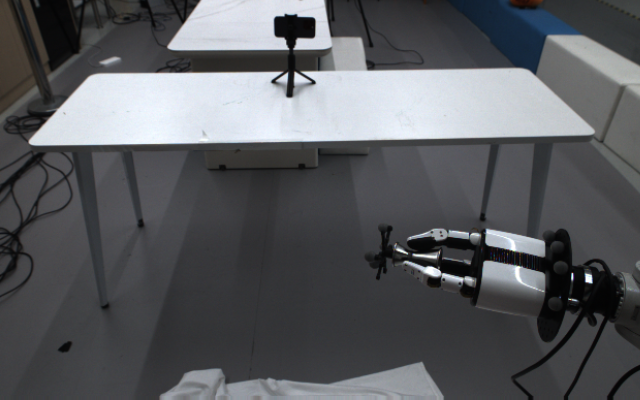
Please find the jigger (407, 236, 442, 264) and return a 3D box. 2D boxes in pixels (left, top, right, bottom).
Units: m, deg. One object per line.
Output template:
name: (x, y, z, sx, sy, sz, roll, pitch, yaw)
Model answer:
jigger: (0.154, 0.080, 0.728, 0.071, 0.043, 0.043, 6, 34, 22)
